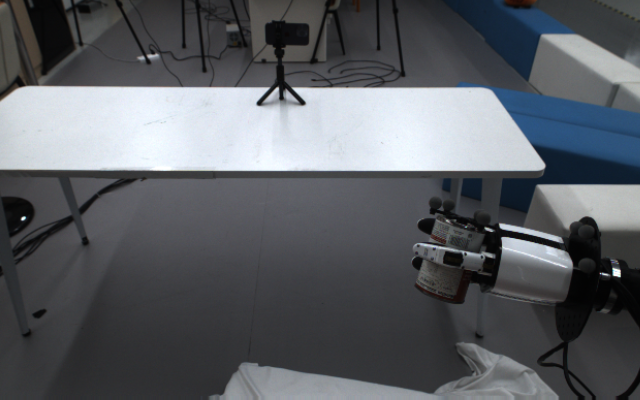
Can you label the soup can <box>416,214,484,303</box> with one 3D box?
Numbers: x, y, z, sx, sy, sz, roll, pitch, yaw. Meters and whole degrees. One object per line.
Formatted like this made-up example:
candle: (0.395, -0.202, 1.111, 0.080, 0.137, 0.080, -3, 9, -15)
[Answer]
soup can: (0.175, 0.077, 0.645, 0.067, 0.101, 0.067, 15, 7, -2)
